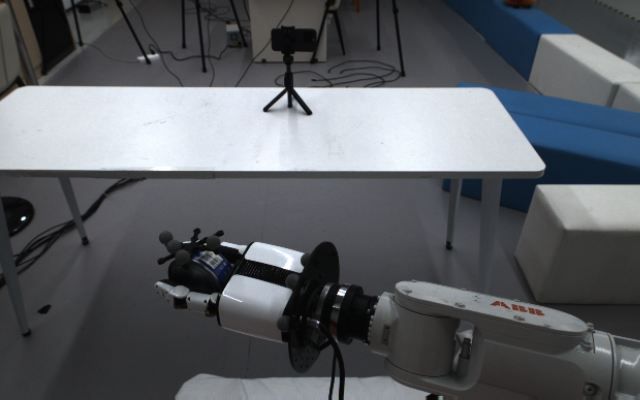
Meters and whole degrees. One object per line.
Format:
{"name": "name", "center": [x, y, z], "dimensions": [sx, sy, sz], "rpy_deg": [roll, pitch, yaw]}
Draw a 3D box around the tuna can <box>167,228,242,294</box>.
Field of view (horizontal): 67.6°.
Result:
{"name": "tuna can", "center": [-0.149, 0.102, 0.628], "dimensions": [0.085, 0.085, 0.034], "rpy_deg": [17, 35, 20]}
